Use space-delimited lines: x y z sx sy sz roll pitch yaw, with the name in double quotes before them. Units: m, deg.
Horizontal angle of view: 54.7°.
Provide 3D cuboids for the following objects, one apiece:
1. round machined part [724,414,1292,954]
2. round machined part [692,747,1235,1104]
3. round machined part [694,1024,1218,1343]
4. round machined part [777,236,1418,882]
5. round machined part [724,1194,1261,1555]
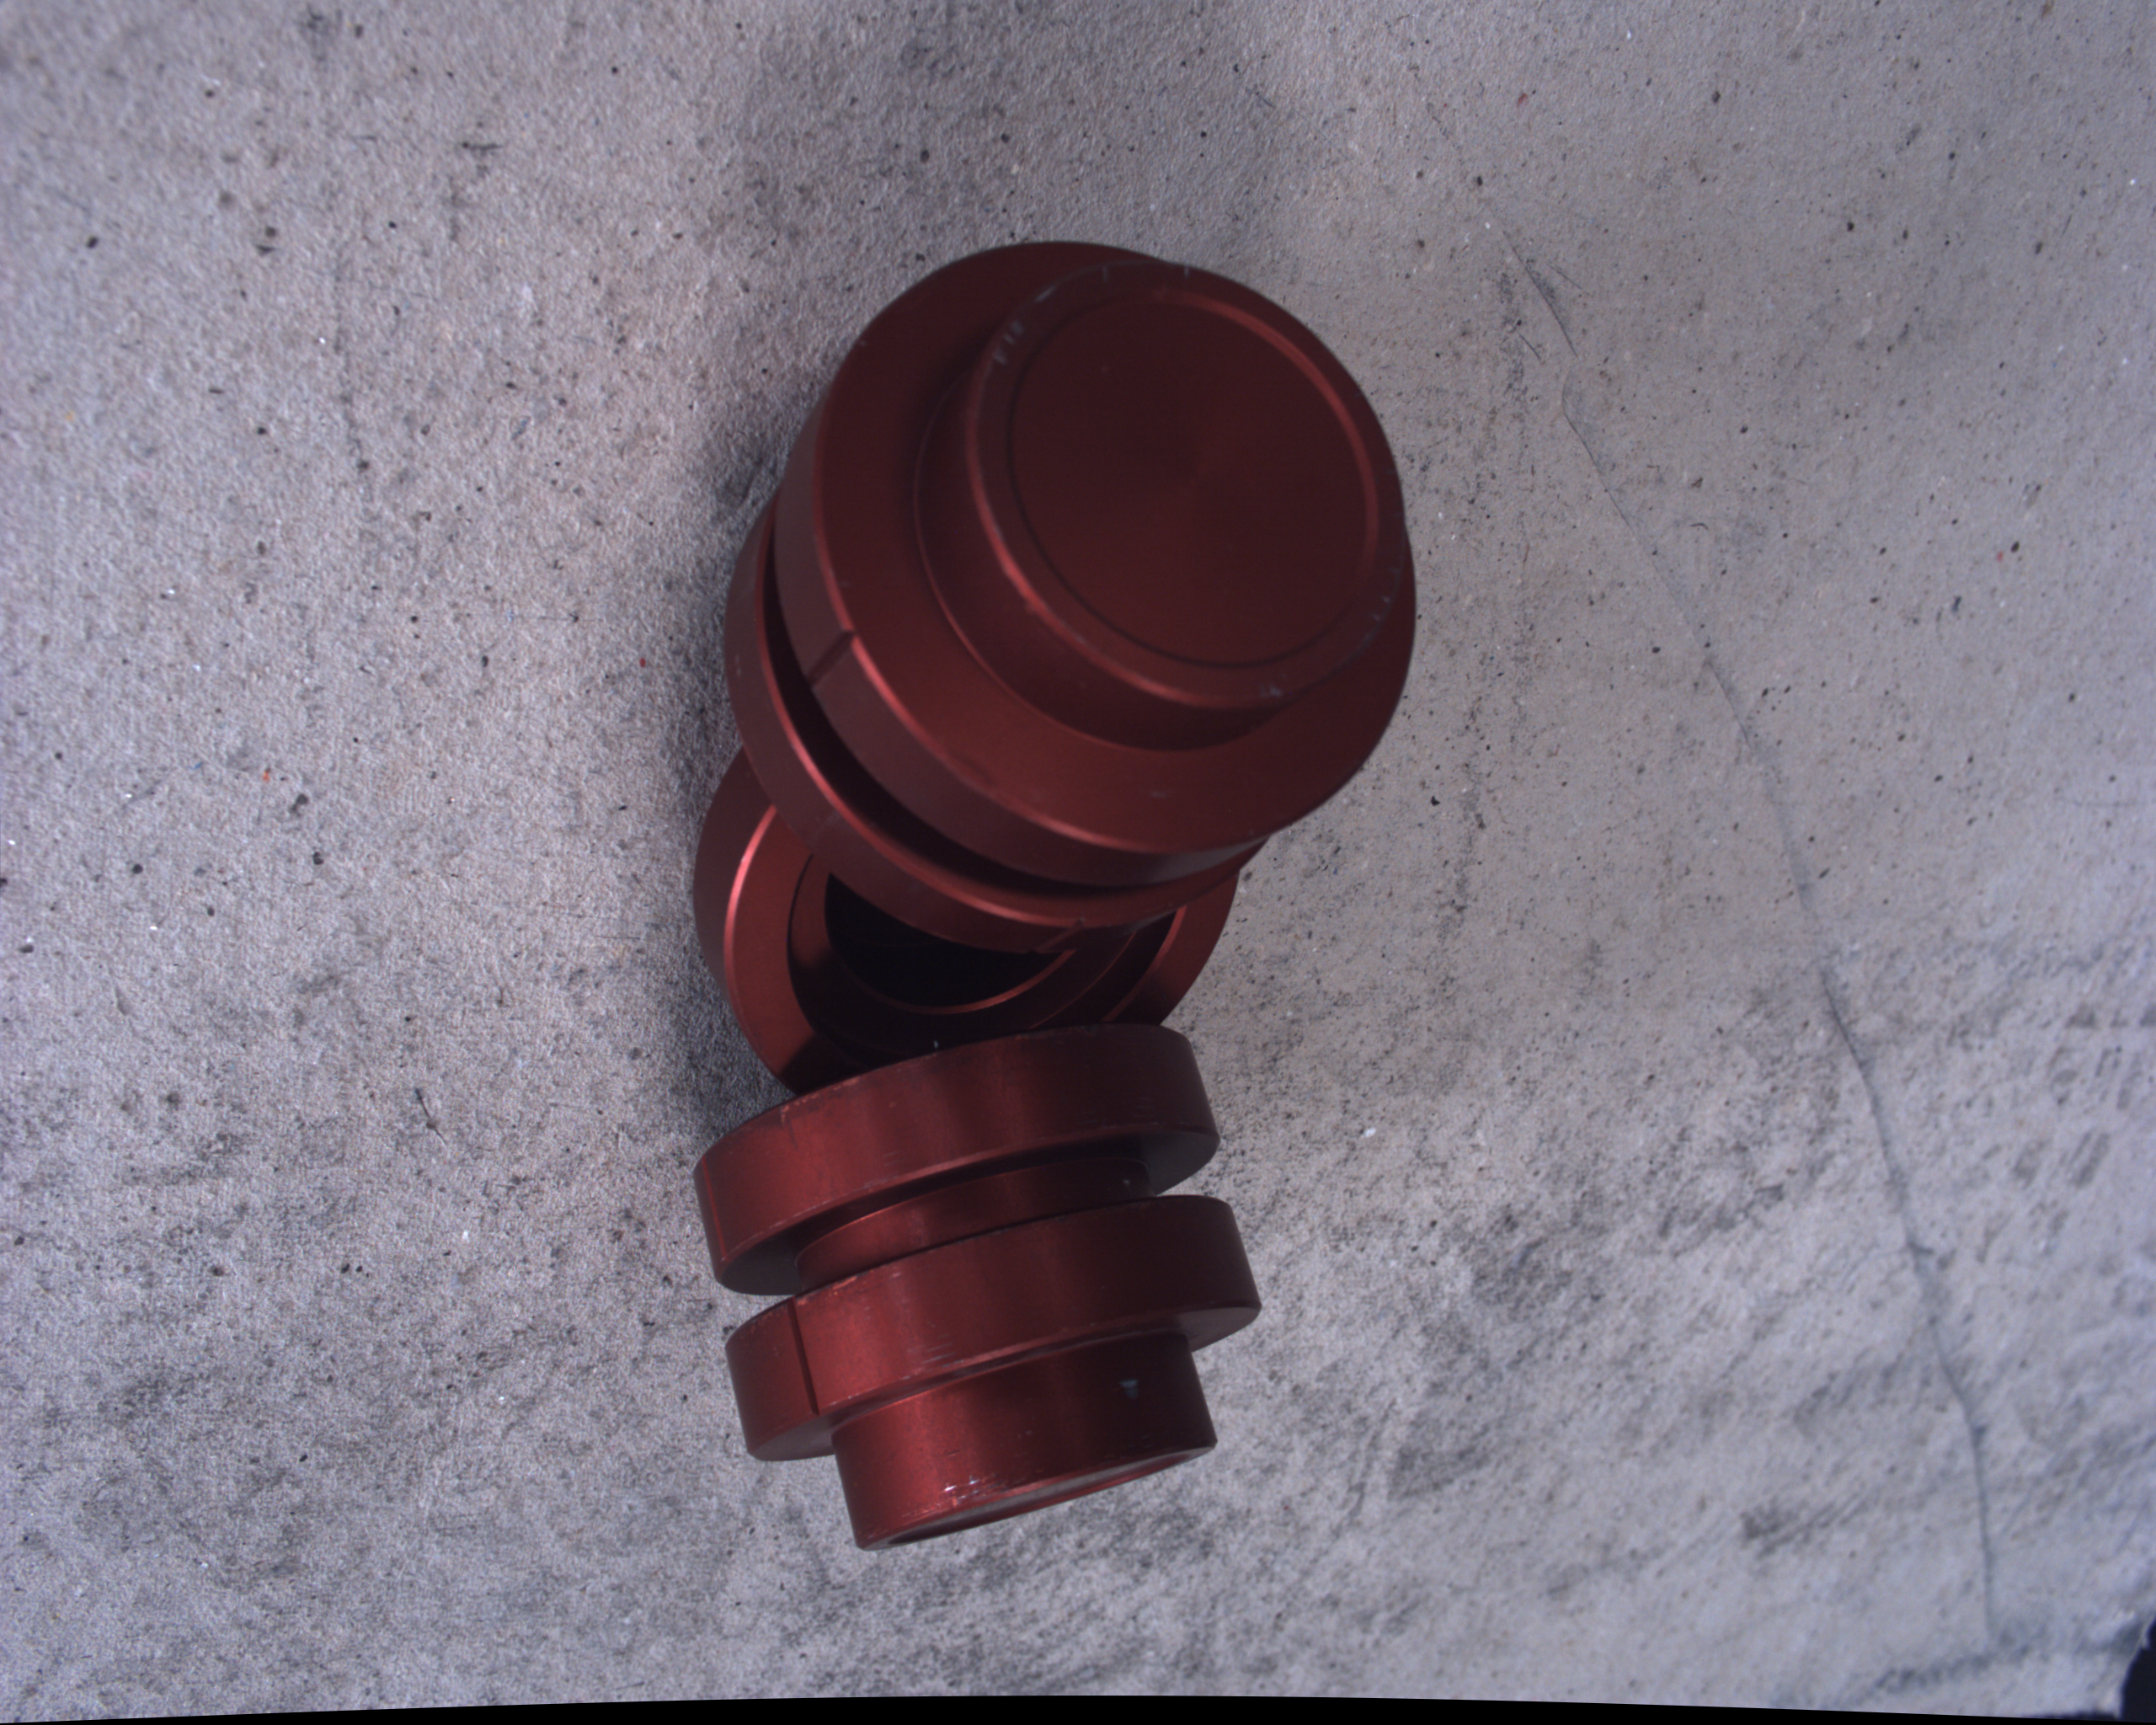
"round machined part" -0.004 -0.037 0.337 0.099 0.042 0.098 7 73 -23
"round machined part" -0.023 -0.003 0.384 0.099 0.042 0.097 -14 124 -21
"round machined part" -0.020 0.068 0.396 0.099 0.042 0.098 -14 160 -5
"round machined part" 0.009 -0.049 0.309 0.099 0.042 0.098 7 73 -23
"round machined part" -0.013 0.098 0.389 0.099 0.042 0.098 -15 160 -5
